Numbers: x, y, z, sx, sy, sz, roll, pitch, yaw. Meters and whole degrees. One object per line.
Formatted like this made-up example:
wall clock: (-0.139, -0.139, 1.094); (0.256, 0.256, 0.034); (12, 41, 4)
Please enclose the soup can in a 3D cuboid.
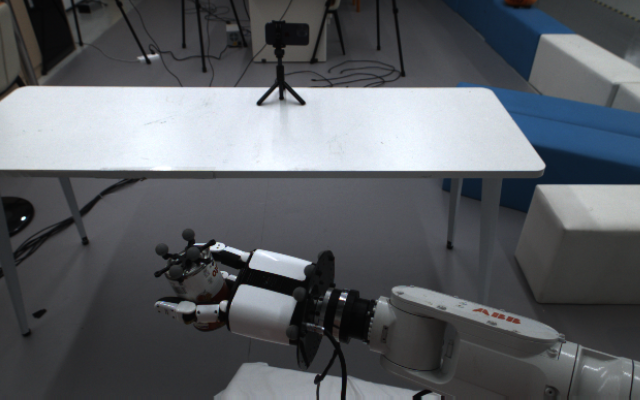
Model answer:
soup can: (-0.162, 0.125, 0.673); (0.067, 0.101, 0.067); (-14, 31, 8)
